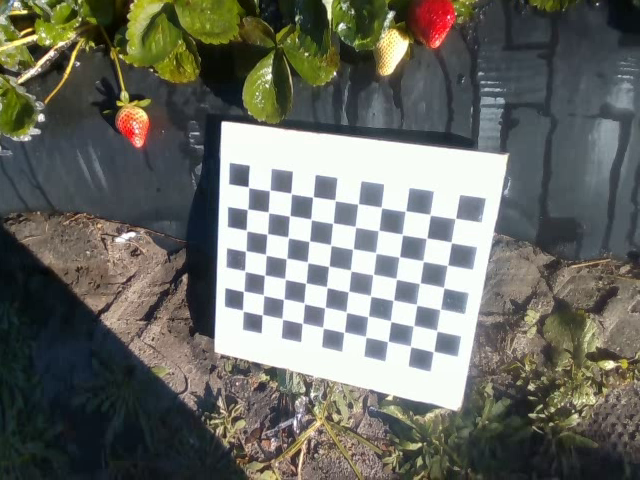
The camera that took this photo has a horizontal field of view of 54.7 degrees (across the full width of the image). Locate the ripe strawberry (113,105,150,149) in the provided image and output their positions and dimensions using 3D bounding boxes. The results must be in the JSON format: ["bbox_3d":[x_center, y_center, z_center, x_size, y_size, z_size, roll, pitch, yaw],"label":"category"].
[{"bbox_3d":[-0.198,-0.122,0.660,0.039,0.053,0.040,-12,-5,22],"label":"ripe strawberry"}]
